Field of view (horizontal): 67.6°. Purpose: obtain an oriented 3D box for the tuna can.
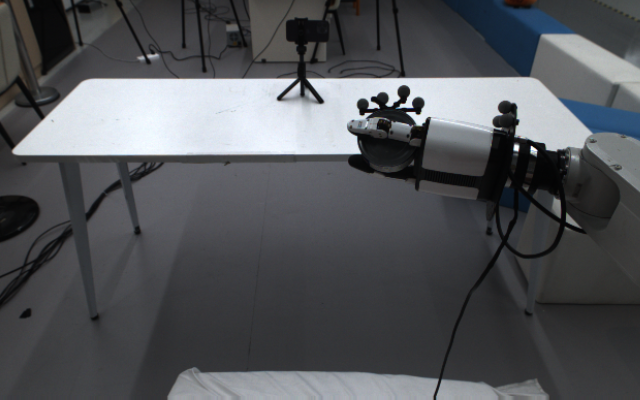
[{"bbox_3d":[0.099,-0.079,0.683,0.085,0.034,0.085,-3,73,10],"label":"tuna can"}]
